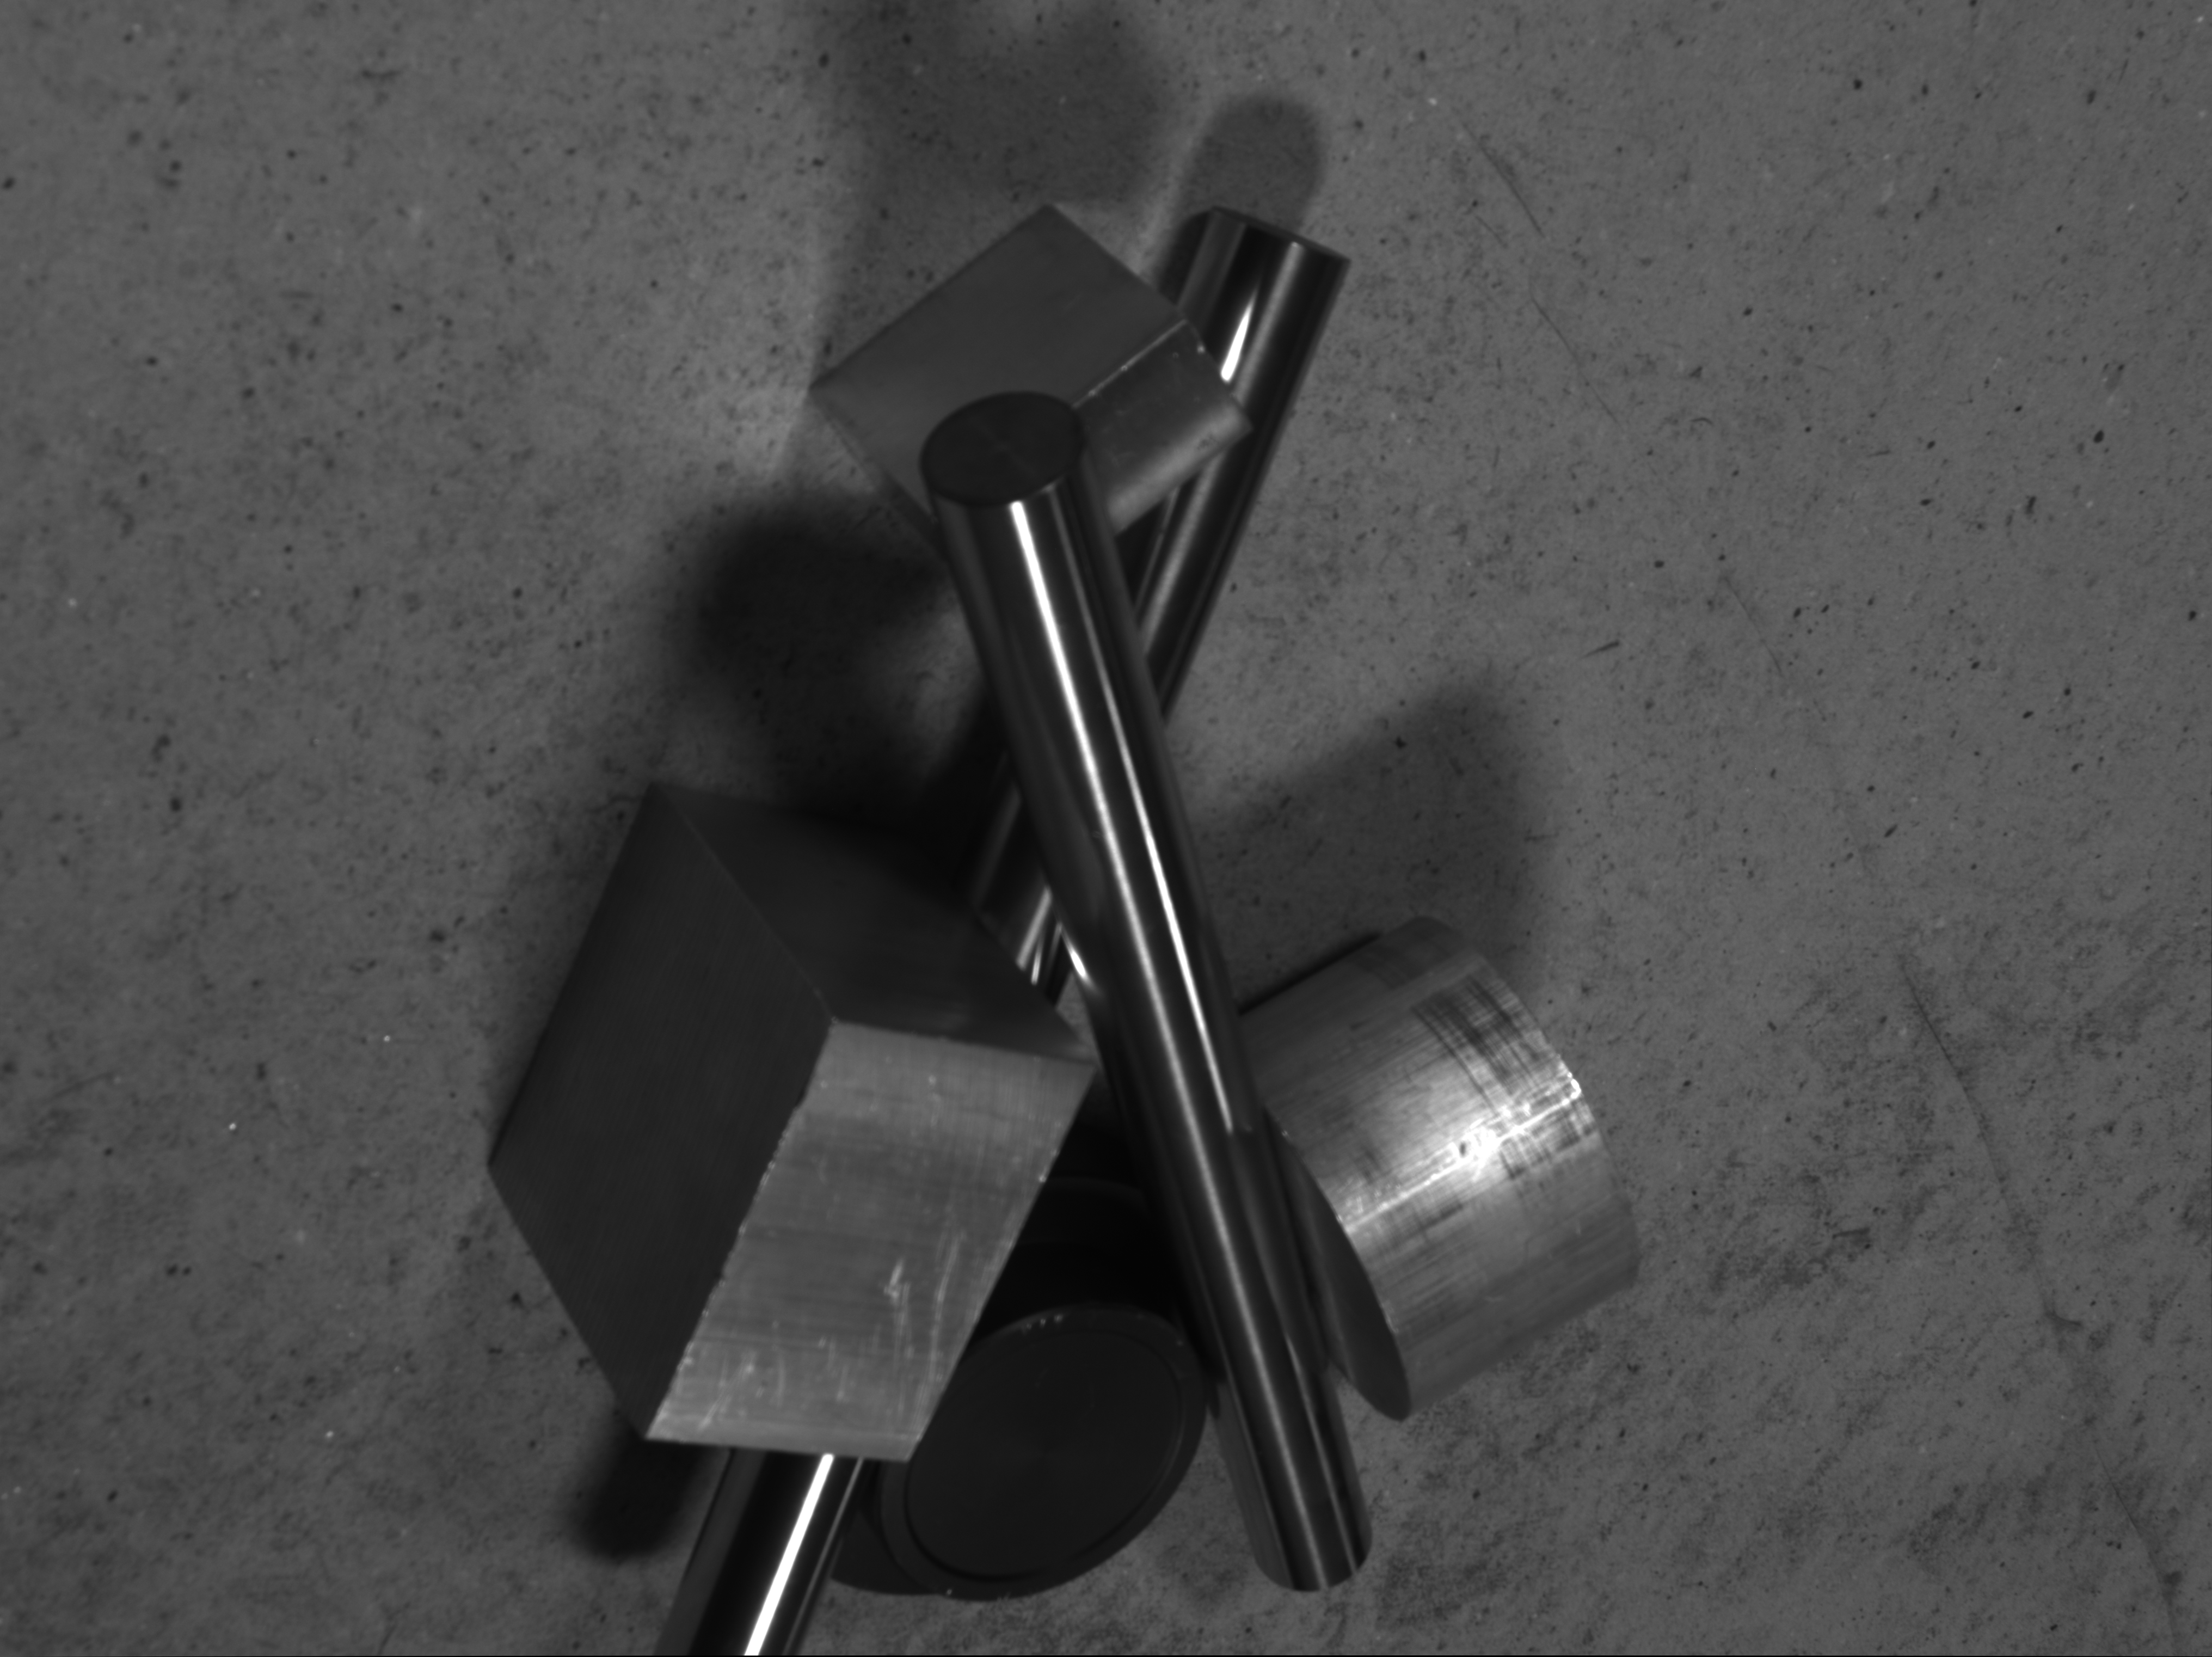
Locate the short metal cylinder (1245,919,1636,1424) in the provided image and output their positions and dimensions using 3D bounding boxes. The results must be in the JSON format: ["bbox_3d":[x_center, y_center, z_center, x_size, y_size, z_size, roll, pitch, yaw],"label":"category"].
[{"bbox_3d":[0.056,0.064,0.688,0.050,0.080,0.080,-29,129,-12],"label":"short metal cylinder"}]

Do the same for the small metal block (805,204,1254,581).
[{"bbox_3d":[-0.013,-0.067,0.585,0.050,0.050,0.025,-39,130,-4],"label":"small metal block"}]

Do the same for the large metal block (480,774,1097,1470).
[{"bbox_3d":[-0.056,0.049,0.613,0.050,0.080,0.080,13,111,-35],"label":"large metal block"}]

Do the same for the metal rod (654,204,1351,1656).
[{"bbox_3d":[-0.024,0.037,0.640,0.025,0.025,0.300,13,105,-35],"label":"metal rod"}]

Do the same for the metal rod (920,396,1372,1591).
[{"bbox_3d":[0.014,0.045,0.642,0.025,0.025,0.300,-29,138,-12],"label":"metal rod"}]

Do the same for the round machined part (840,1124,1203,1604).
[{"bbox_3d":[-0.021,0.107,0.695,0.098,0.042,0.098,-15,125,-22],"label":"round machined part"}]
